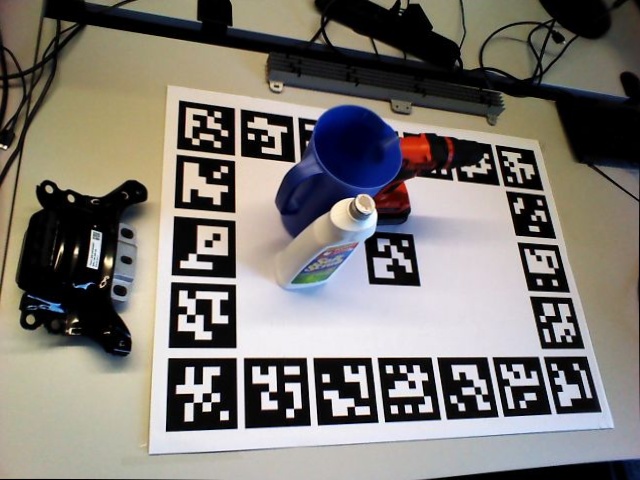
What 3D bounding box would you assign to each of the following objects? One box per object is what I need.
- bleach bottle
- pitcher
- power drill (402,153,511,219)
[{"bbox_3d":[0.042,0.011,0.729,0.102,0.252,0.067,-5,71,-19],"label":"bleach bottle"},{"bbox_3d":[0.041,-0.075,0.786,0.188,0.244,0.133,-25,80,-24],"label":"pitcher"},{"bbox_3d":[0.197,-0.081,0.849,0.184,0.188,0.057,0,72,-24],"label":"power drill"}]
